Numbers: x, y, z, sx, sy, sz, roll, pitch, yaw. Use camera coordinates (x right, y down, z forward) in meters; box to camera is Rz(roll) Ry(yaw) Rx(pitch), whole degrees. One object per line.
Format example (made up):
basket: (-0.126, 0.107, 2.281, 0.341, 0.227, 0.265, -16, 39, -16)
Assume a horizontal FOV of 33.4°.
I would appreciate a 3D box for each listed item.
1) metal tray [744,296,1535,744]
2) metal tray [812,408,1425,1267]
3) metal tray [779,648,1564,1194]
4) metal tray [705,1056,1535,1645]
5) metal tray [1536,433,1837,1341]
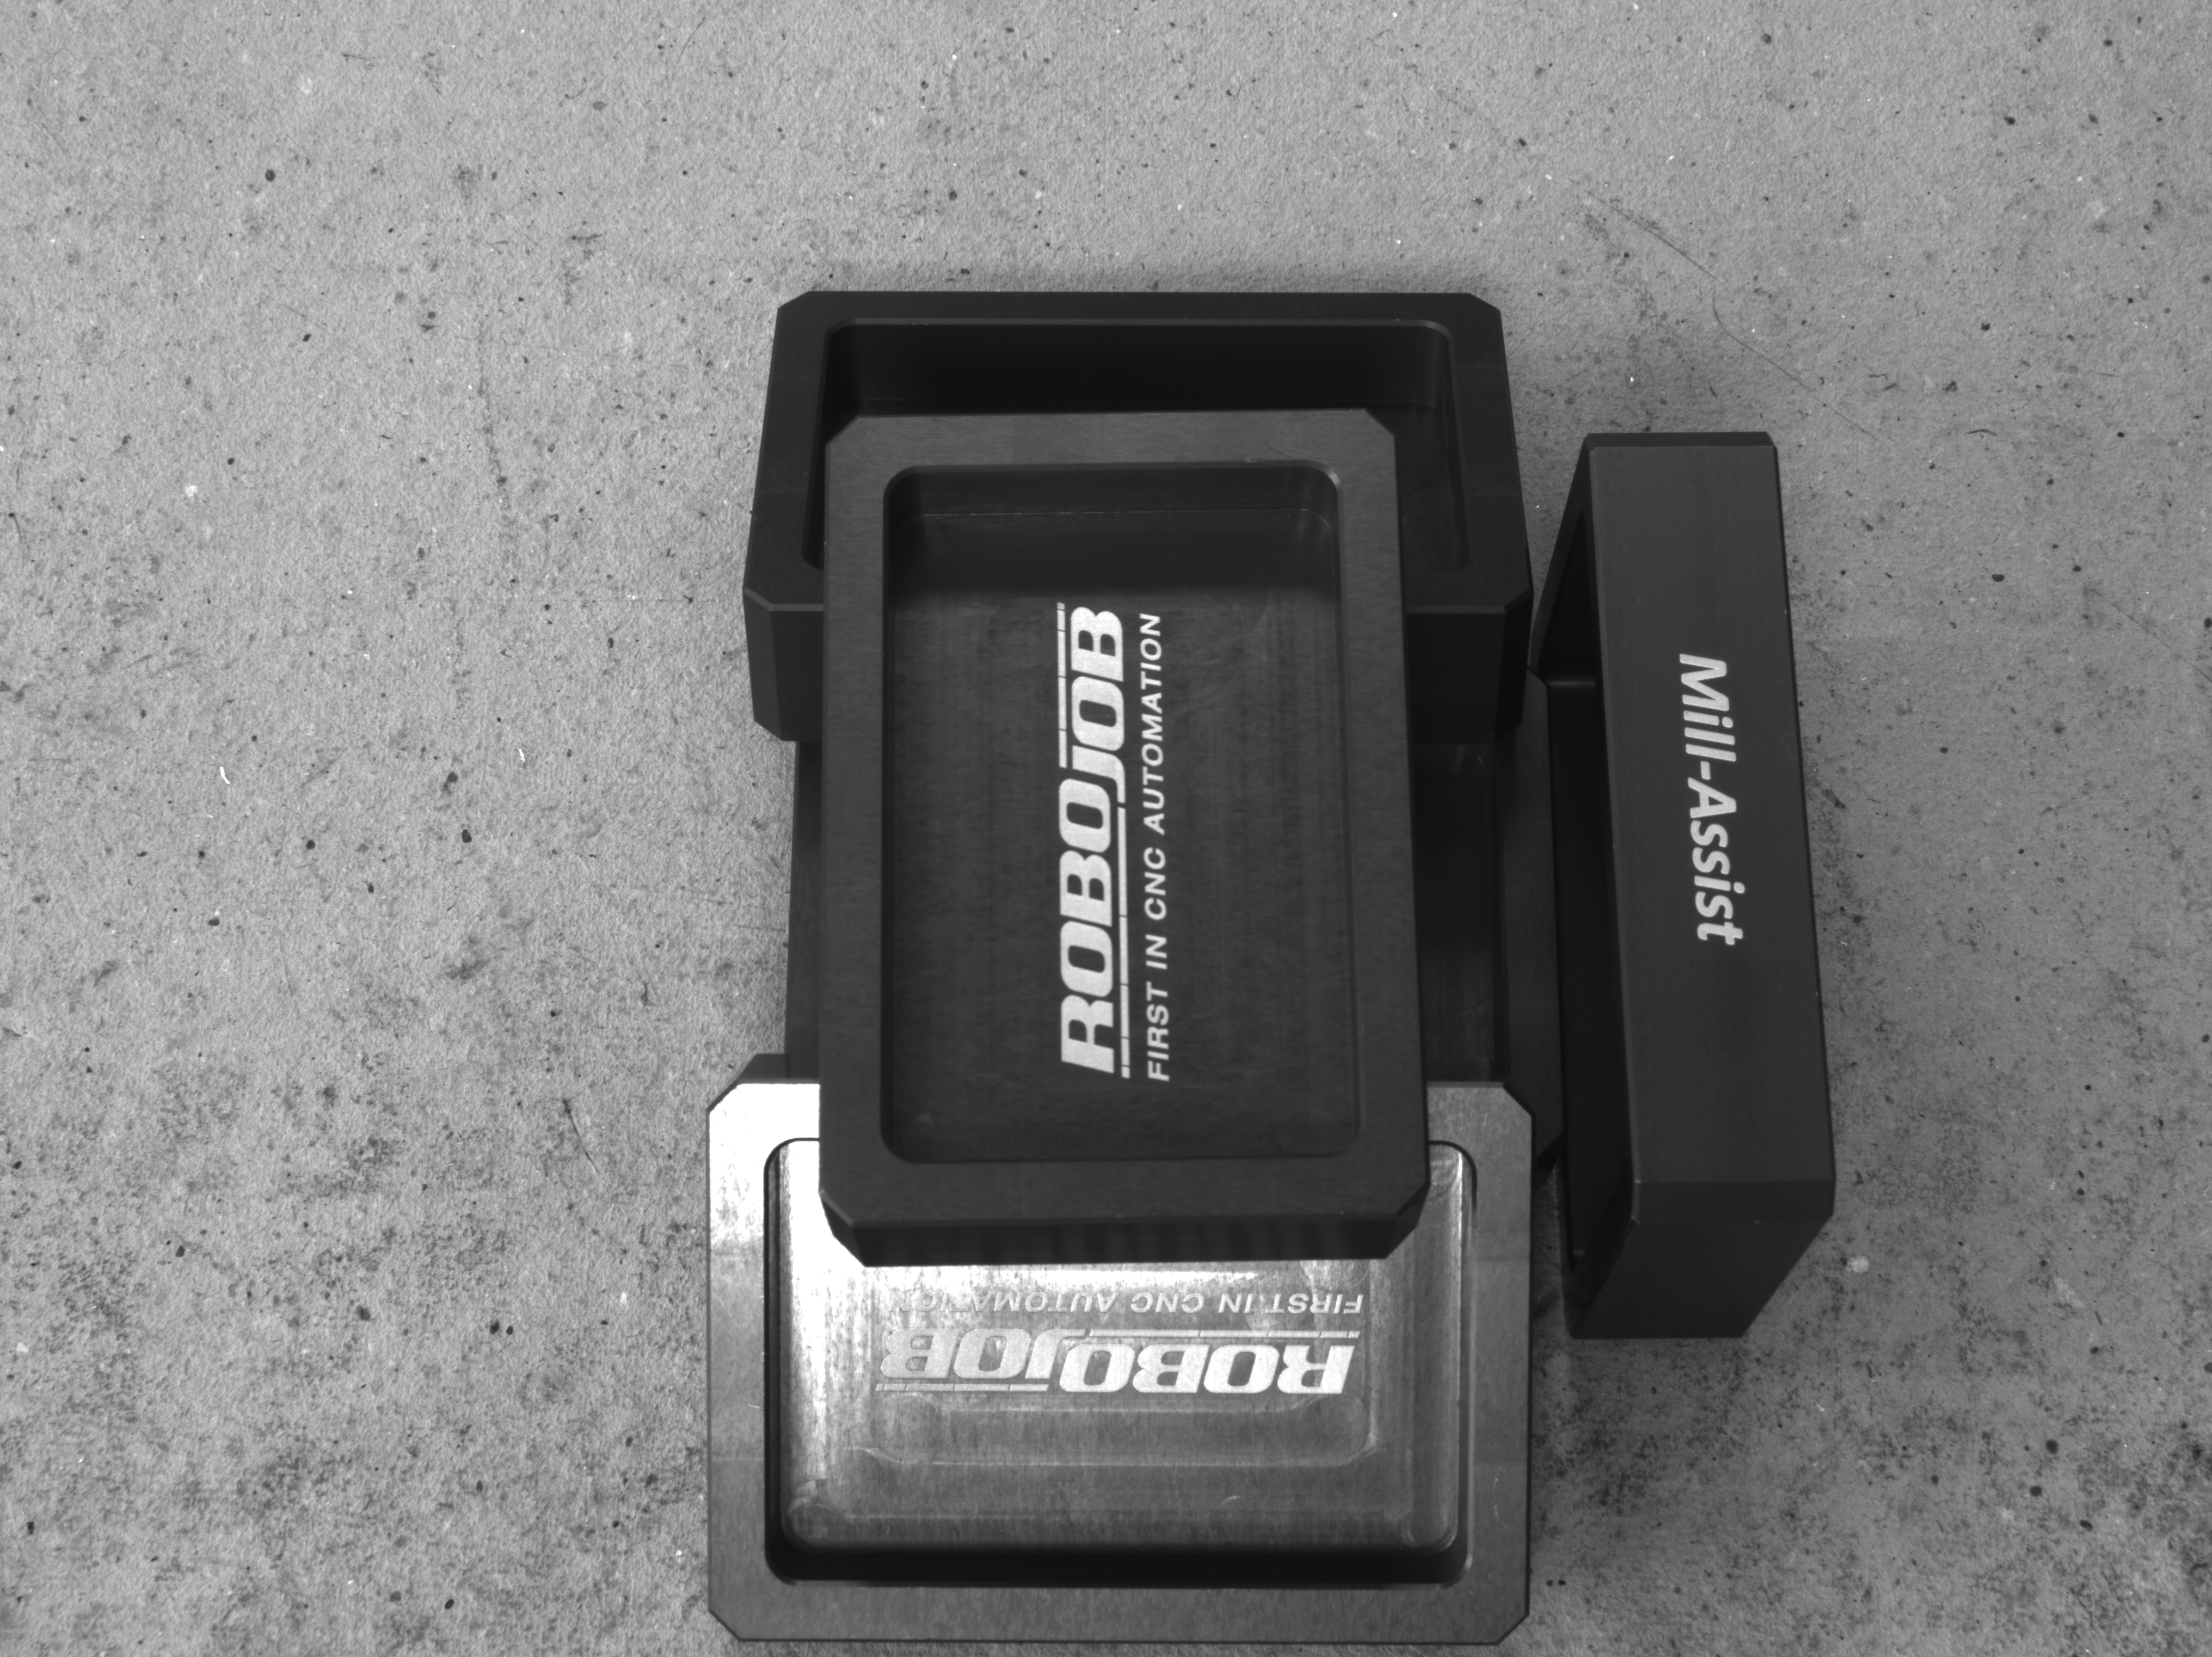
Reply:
metal tray: (0.006, -0.055, 0.645, 0.130, 0.030, 0.090, 0, 43, 0)
metal tray: (0.001, 0.001, 0.573, 0.090, 0.030, 0.130, -1, 72, 0)
metal tray: (0.010, 0.017, 0.635, 0.130, 0.030, 0.090, -1, 71, 0)
metal tray: (0.002, 0.083, 0.594, 0.130, 0.030, 0.090, 0, 95, 0)
metal tray: (0.093, 0.012, 0.606, 0.030, 0.090, 0.130, -1, 70, 0)
